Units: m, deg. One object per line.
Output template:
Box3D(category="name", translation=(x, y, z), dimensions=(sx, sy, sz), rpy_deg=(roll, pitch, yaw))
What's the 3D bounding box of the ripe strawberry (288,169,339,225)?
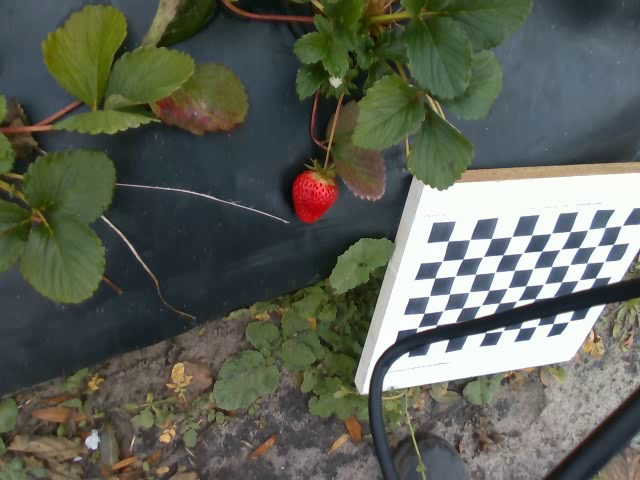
Box3D(category="ripe strawberry", translation=(-0.004, -0.022, 0.333), dimensions=(0.028, 0.033, 0.023), rpy_deg=(12, 30, -25))
